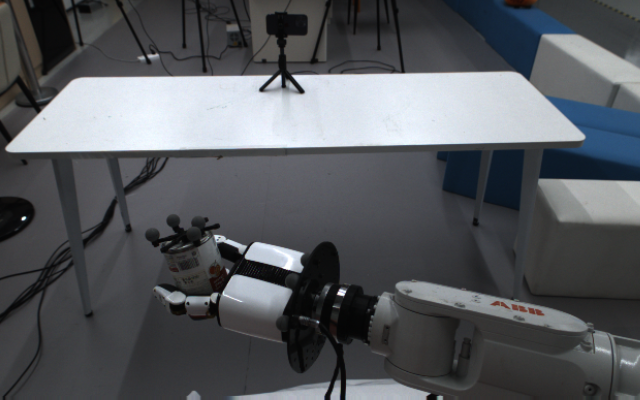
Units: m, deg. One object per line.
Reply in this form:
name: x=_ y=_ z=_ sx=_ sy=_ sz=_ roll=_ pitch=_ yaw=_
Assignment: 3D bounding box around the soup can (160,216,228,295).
soup can: x=-0.156 y=0.095 z=0.626 sx=0.067 sy=0.101 sz=0.067 roll=-13 pitch=19 yaw=4
